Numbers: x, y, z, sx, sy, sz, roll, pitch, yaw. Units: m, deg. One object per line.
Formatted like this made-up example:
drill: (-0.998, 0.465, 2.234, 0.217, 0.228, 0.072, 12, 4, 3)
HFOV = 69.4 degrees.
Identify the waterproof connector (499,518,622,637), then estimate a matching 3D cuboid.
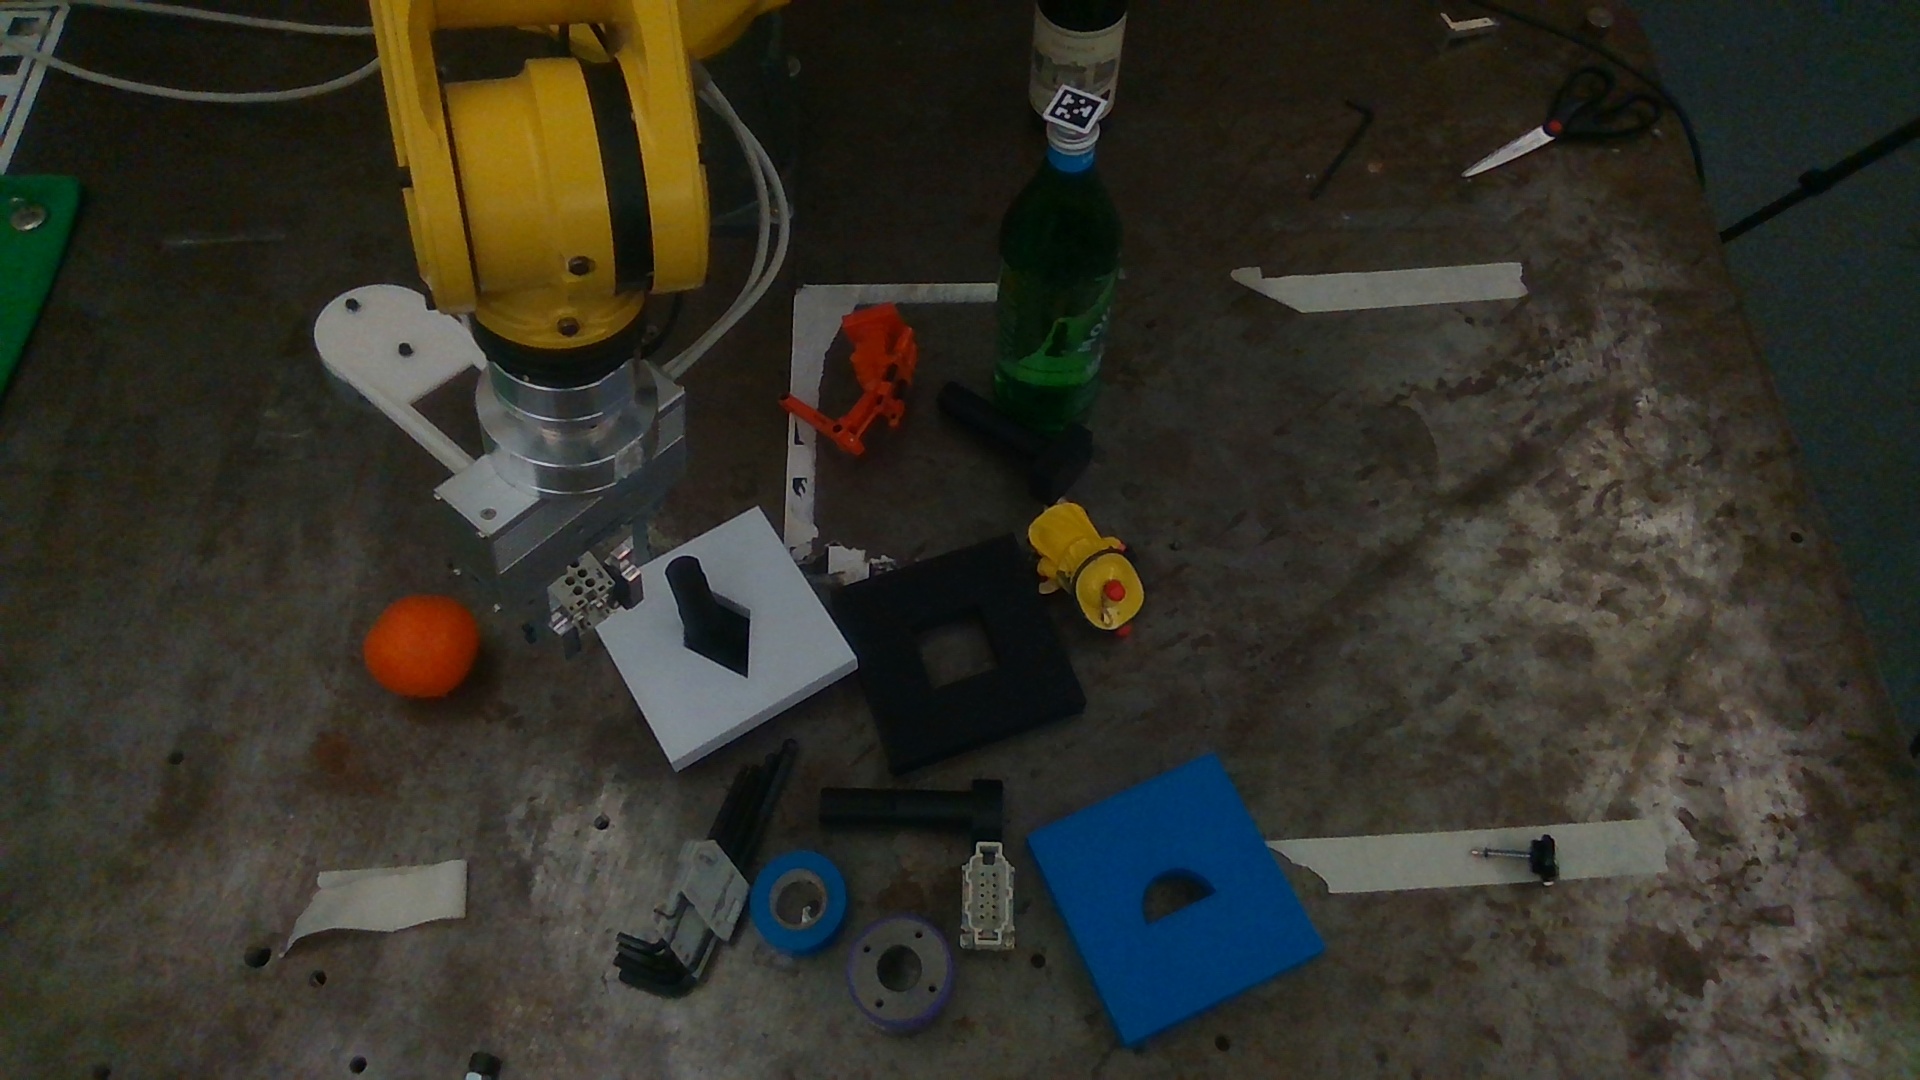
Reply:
waterproof connector: (-0.224, 0.021, 0.774, 0.069, 0.039, 0.036, 48, 58, 0)
